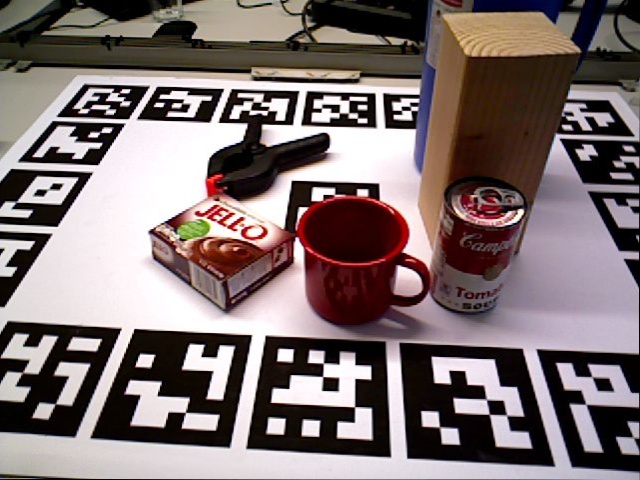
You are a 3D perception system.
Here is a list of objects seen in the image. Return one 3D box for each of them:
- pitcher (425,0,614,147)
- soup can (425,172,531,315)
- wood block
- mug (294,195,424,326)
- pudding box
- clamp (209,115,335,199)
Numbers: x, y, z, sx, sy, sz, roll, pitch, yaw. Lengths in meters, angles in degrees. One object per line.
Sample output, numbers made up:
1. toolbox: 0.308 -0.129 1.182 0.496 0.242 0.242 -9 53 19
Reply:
1. pitcher: 0.183 -0.182 0.560 0.188 0.248 0.131 0 39 5
2. soup can: 0.127 0.005 0.453 0.067 0.104 0.067 -1 44 0
3. wood block: 0.151 -0.092 0.483 0.089 0.211 0.089 3 41 -1
4. mug: 0.034 0.022 0.453 0.117 0.083 0.091 28 46 30
5. pudding box: -0.104 0.003 0.515 0.114 0.039 0.088 30 53 31
6. clamp: -0.072 -0.096 0.635 0.122 0.037 0.161 28 49 19
